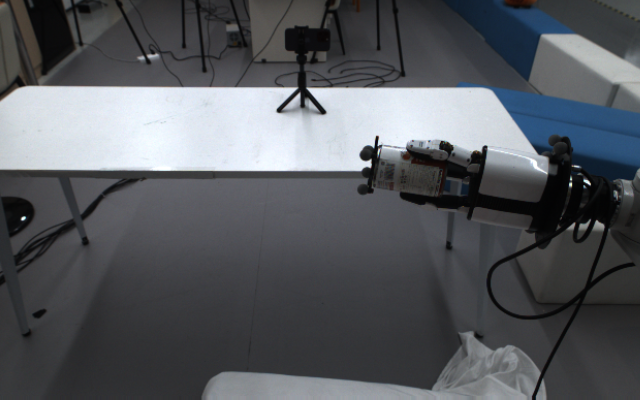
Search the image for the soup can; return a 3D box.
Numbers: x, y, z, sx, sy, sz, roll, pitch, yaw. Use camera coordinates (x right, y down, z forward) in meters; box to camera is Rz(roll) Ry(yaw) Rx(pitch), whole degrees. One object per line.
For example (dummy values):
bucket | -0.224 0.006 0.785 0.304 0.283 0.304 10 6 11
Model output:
soup can | 0.136 -0.044 0.720 0.101 0.067 0.067 9 35 9
